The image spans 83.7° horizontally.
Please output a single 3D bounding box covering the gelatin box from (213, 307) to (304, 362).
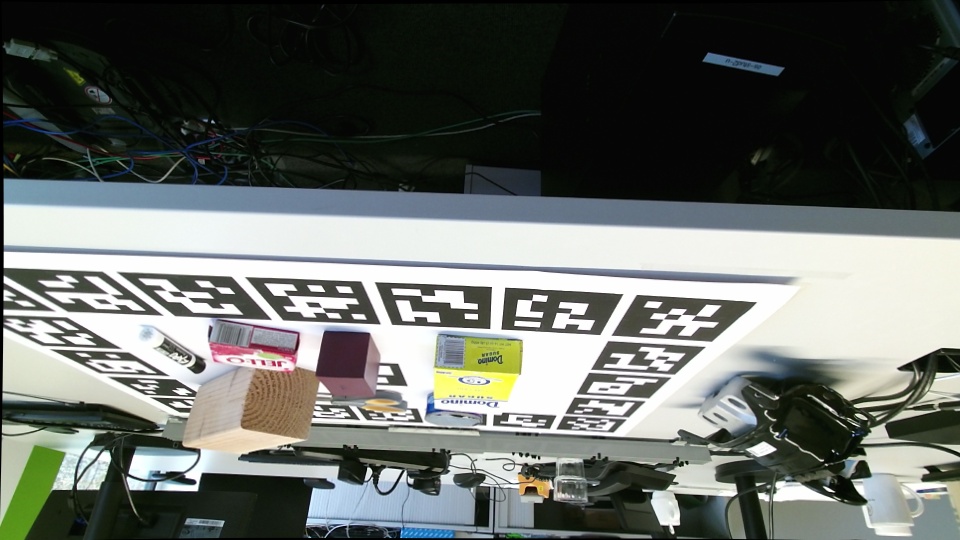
[{"bbox_3d":[-0.249,0.073,0.606,0.090,0.030,0.073,12,146,-16],"label":"gelatin box"}]

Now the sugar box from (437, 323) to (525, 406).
[{"bbox_3d":[-0.005,0.120,0.653,0.093,0.045,0.176,5,148,-3],"label":"sugar box"}]

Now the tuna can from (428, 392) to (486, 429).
[{"bbox_3d":[-0.034,0.207,0.798,0.086,0.033,0.086,2,147,1],"label":"tuna can"}]

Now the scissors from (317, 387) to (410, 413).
[{"bbox_3d":[-0.207,0.195,0.812,0.204,0.016,0.088,4,148,-7],"label":"scissors"}]

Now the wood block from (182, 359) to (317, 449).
[{"bbox_3d":[-0.325,0.186,0.741,0.090,0.090,0.206,28,141,-36],"label":"wood block"}]

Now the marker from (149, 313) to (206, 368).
[{"bbox_3d":[-0.359,0.087,0.643,0.020,0.019,0.121,3,146,-1],"label":"marker"}]

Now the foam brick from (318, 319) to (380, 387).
[{"bbox_3d":[-0.146,0.095,0.606,0.053,0.051,0.078,3,147,-1],"label":"foam brick"}]
